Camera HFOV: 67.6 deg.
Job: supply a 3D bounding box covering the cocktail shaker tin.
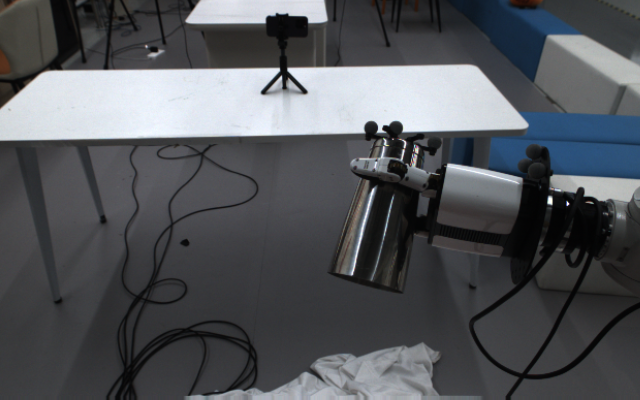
[{"bbox_3d":[0.078,0.013,0.578,0.093,0.093,0.170,13,76,15],"label":"cocktail shaker tin"}]
